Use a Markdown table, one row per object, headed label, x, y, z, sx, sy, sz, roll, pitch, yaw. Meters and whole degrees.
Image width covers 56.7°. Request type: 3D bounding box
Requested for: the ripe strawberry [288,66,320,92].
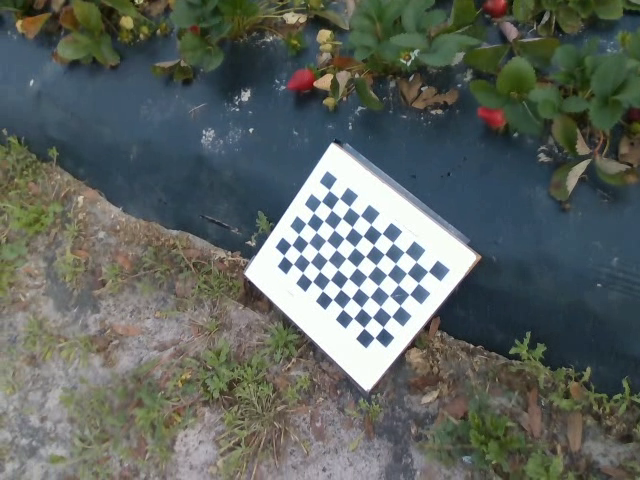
| label | x | y | z | sx | sy | sz | roll | pitch | yaw |
| --- | --- | --- | --- | --- | --- | --- | --- | --- | --- |
| ripe strawberry | -0.034 | -0.272 | 1.002 | 0.050 | 0.034 | 0.059 | 30 | 55 | 25 |
